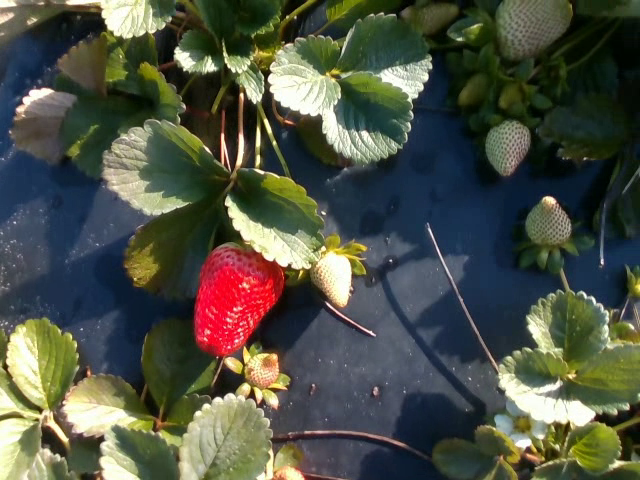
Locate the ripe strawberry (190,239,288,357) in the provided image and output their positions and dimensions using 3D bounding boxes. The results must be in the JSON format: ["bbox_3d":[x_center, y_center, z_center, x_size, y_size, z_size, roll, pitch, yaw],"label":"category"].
[{"bbox_3d":[-0.051,0.036,0.350,0.055,0.072,0.056,26,-24,-35],"label":"ripe strawberry"}]
